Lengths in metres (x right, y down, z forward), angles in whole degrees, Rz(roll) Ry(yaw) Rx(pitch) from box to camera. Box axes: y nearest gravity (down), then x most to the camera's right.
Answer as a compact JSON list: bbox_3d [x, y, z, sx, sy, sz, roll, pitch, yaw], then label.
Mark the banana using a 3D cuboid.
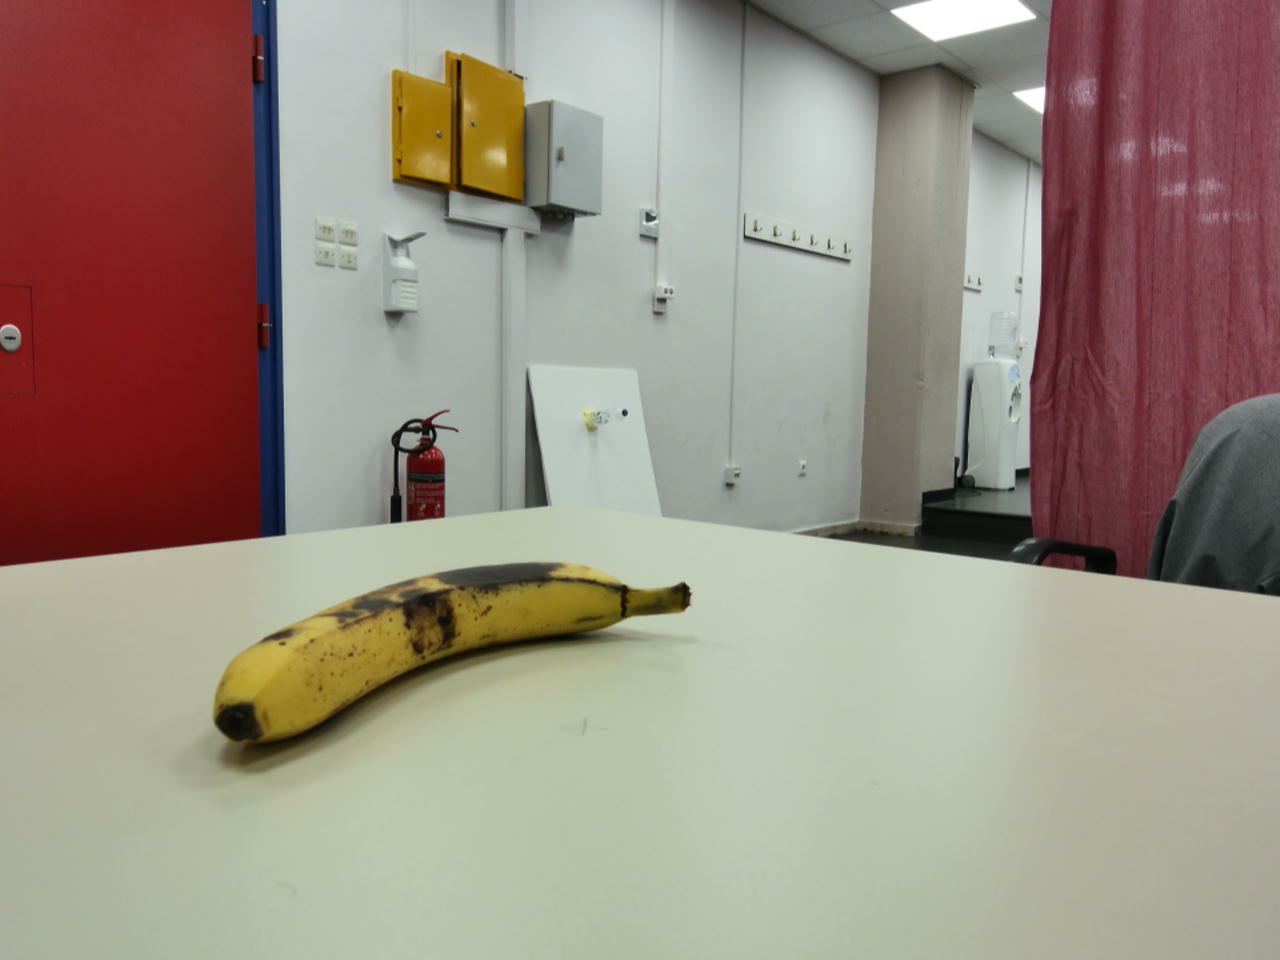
[{"bbox_3d":[-0.079,0.061,0.405,0.084,0.037,0.222,3,5,39],"label":"banana"}]
